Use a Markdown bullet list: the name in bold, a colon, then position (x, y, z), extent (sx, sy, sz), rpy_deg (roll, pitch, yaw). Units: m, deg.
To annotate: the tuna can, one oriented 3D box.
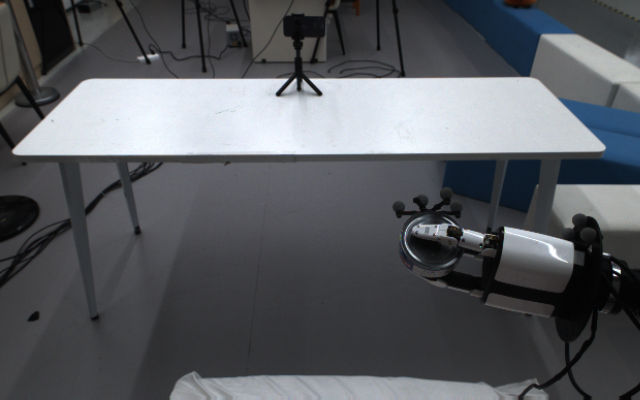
- **tuna can**: position (0.150, 0.058, 0.649), extent (0.085, 0.034, 0.085), rpy_deg (-2, 58, 3)
